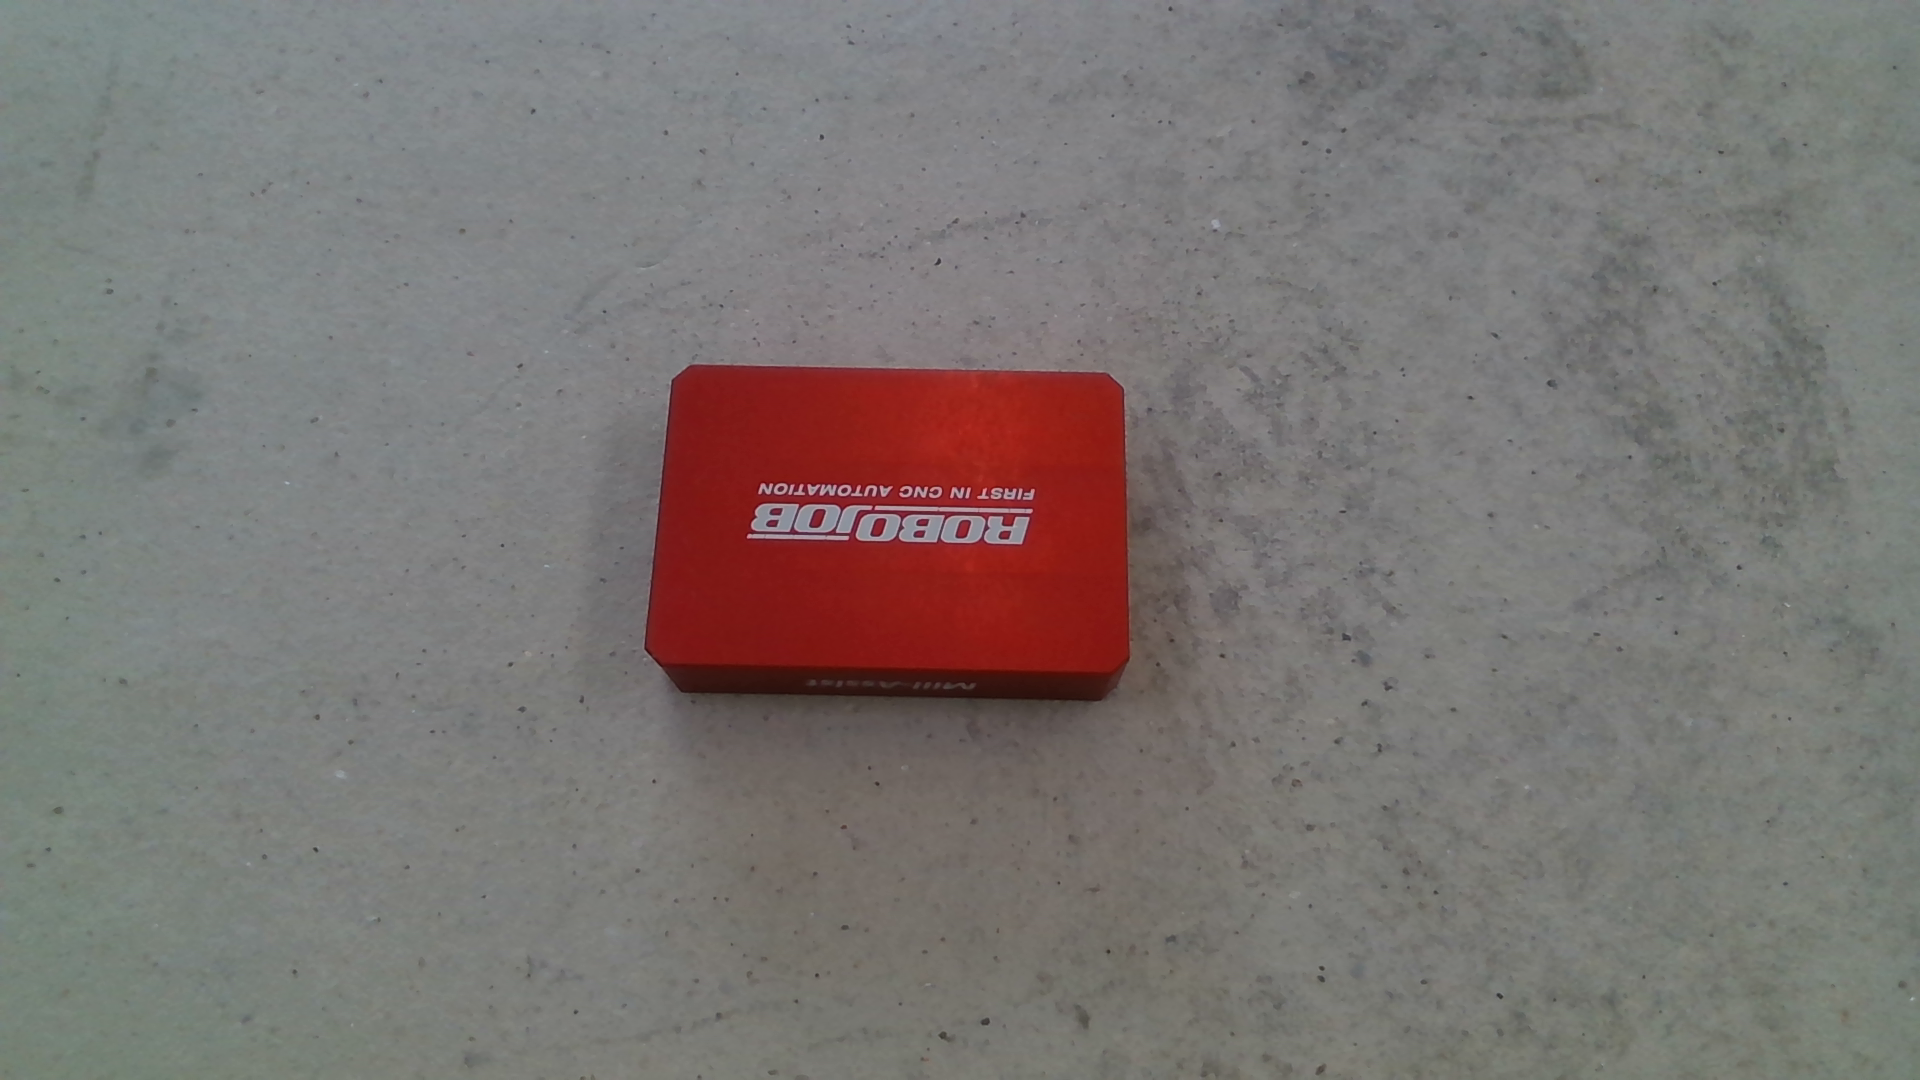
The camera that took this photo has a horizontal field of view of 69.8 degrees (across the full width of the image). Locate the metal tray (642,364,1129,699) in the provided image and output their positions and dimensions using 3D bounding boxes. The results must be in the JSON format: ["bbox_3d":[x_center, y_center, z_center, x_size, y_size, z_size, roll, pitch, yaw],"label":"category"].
[{"bbox_3d":[-0.019,-0.003,0.393,0.130,0.030,0.090,1,71,1],"label":"metal tray"}]
